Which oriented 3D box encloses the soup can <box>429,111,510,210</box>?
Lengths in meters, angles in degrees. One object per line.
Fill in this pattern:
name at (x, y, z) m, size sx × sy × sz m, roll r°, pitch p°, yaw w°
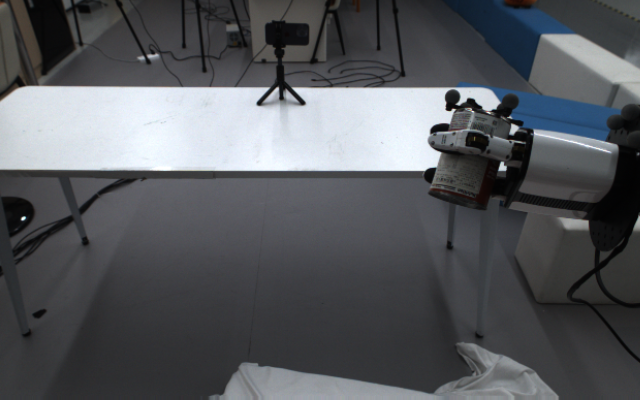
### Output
soup can at (0.174, -0.048, 0.557) m, size 0.067 × 0.101 × 0.067 m, roll 17°, pitch -1°, yaw 0°
